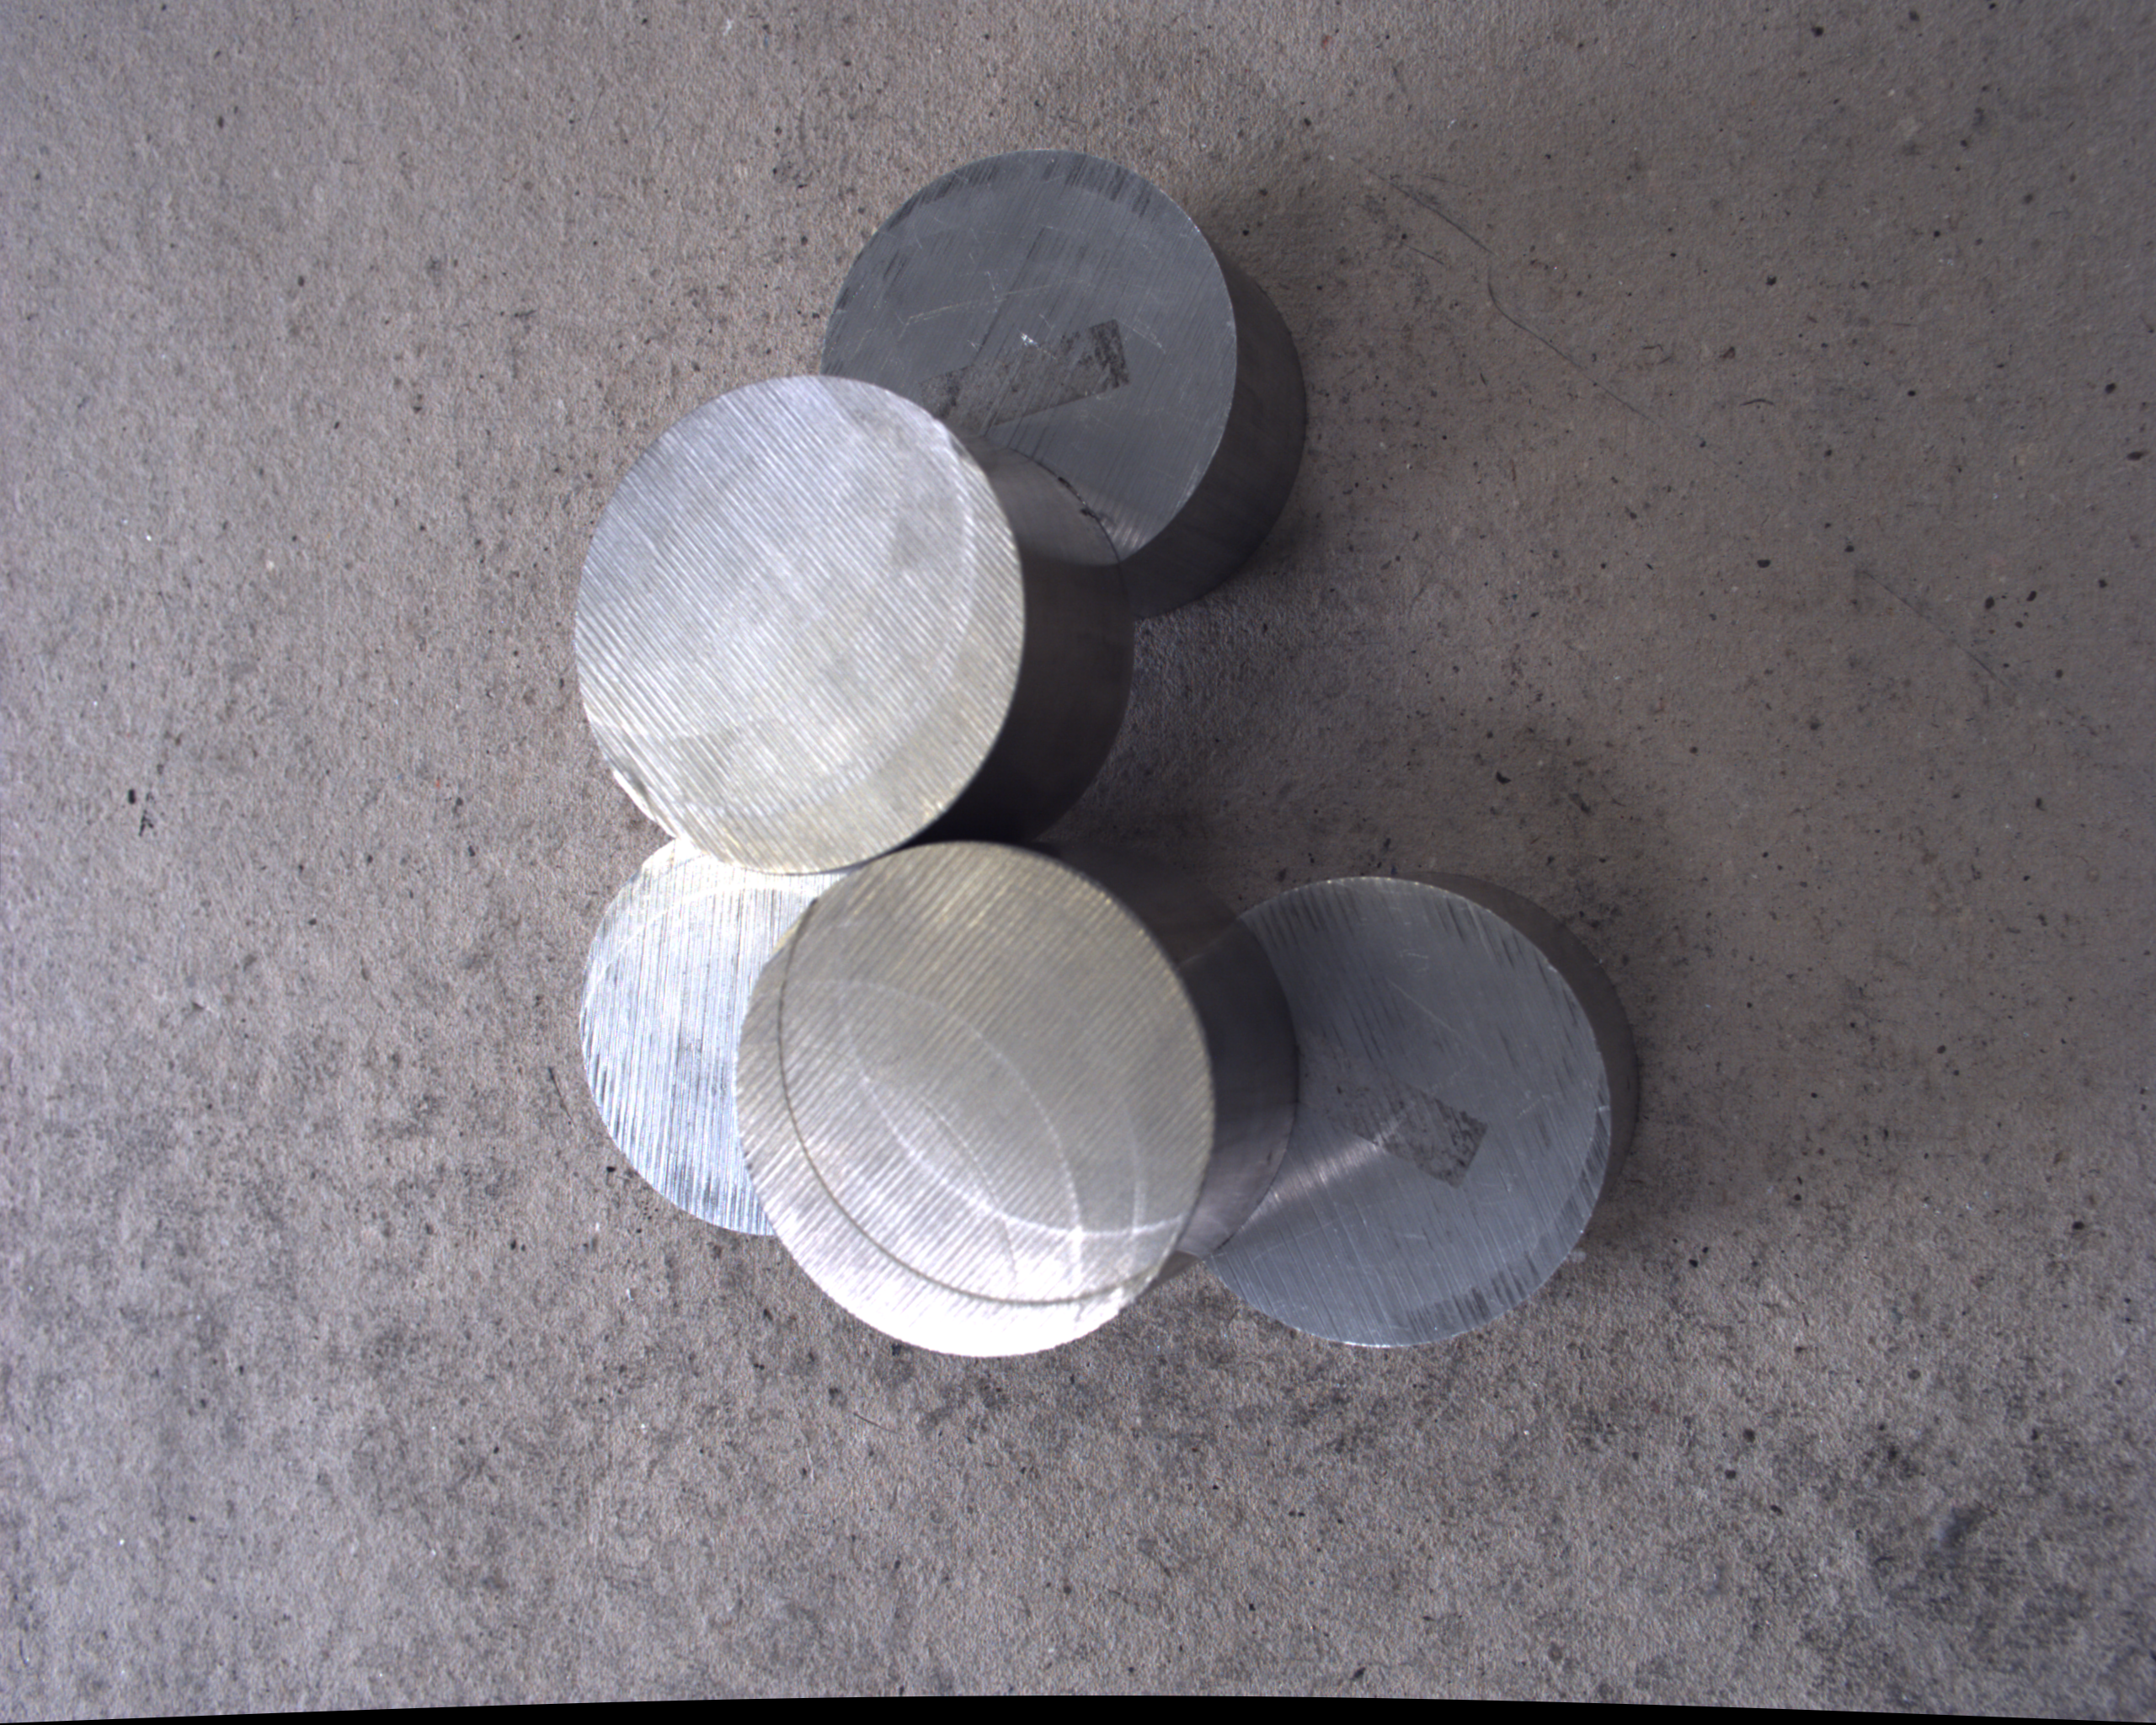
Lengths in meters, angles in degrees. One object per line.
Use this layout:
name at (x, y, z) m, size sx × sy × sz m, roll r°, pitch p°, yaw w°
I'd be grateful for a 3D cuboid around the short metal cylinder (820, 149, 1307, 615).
short metal cylinder at (-0.002, -0.088, 0.398) m, size 0.080 × 0.050 × 0.080 m, roll 0°, pitch 90°, yaw 20°

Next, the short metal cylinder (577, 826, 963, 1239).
short metal cylinder at (-0.051, 0.031, 0.415) m, size 0.080 × 0.050 × 0.080 m, roll 0°, pitch 90°, yaw 20°

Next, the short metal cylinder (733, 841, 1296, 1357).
short metal cylinder at (-0.009, 0.036, 0.346) m, size 0.080 × 0.050 × 0.080 m, roll 0°, pitch 90°, yaw 19°

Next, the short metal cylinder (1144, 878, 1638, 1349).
short metal cylinder at (0.058, 0.042, 0.376) m, size 0.080 × 0.050 × 0.080 m, roll 0°, pitch 90°, yaw 20°

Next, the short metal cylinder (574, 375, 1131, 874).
short metal cylinder at (-0.037, -0.038, 0.356) m, size 0.080 × 0.050 × 0.080 m, roll 0°, pitch 90°, yaw 20°
